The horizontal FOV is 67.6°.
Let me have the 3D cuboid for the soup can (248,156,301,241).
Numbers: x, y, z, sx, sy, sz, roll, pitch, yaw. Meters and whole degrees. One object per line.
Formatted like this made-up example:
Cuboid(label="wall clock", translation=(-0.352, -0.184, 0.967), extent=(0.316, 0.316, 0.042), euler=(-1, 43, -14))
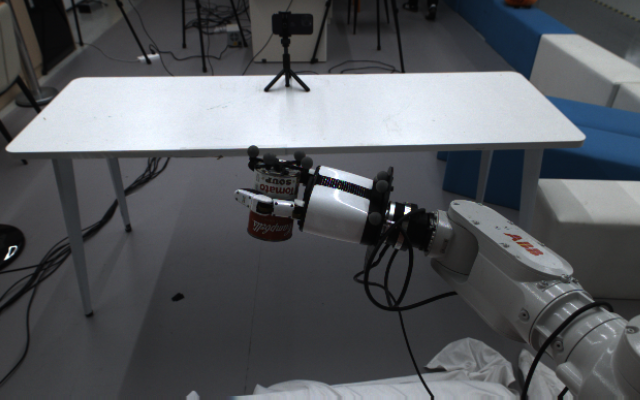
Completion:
Cuboid(label="soup can", translation=(-0.067, 0.001, 0.702), extent=(0.067, 0.101, 0.067), euler=(8, 19, -3))
